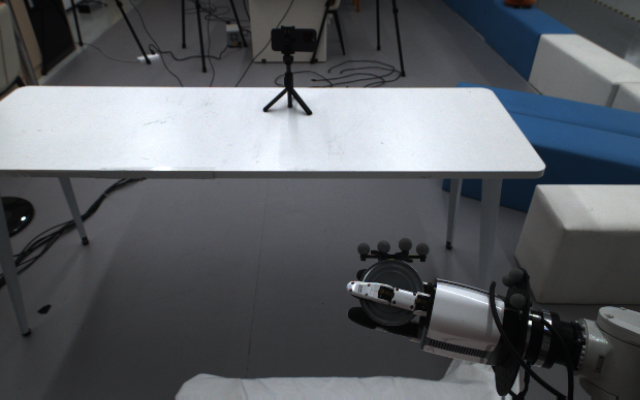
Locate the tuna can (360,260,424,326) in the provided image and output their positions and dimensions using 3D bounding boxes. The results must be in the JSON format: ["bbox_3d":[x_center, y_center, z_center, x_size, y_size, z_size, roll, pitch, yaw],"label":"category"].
[{"bbox_3d":[0.097,0.122,0.641,0.085,0.034,0.085,-5,71,15],"label":"tuna can"}]
